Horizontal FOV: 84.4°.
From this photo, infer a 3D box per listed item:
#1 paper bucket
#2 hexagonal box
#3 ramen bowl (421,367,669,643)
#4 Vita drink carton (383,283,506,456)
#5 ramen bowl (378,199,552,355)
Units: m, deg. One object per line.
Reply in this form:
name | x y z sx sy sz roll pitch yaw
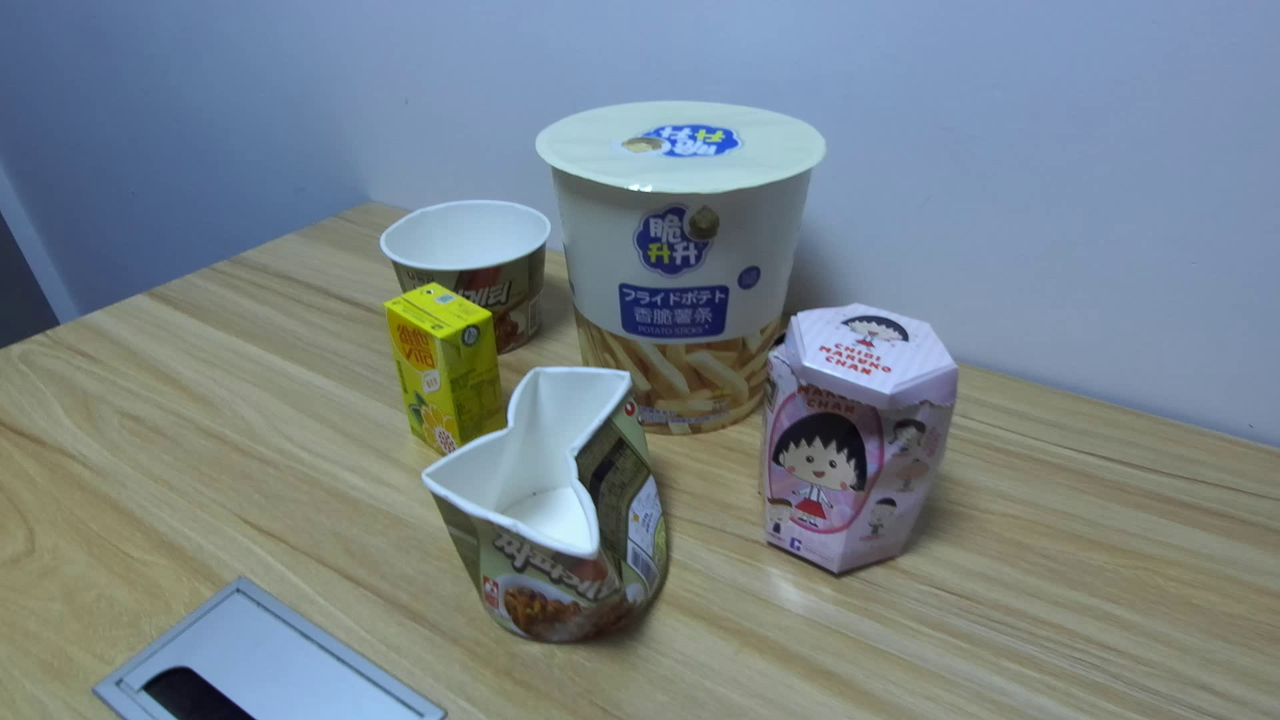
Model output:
paper bucket | 0.028 -0.066 0.516 0.198 0.195 0.198 0 34 0
hexagonal box | 0.118 0.044 0.407 0.090 0.134 0.091 -7 34 -14
ramen bowl | -0.038 0.076 0.394 0.111 0.093 0.128 15 38 20
Vita drink carton | -0.129 0.010 0.481 0.066 0.109 0.044 26 42 33
ramen bowl | -0.143 -0.070 0.615 0.140 0.095 0.140 0 35 1
